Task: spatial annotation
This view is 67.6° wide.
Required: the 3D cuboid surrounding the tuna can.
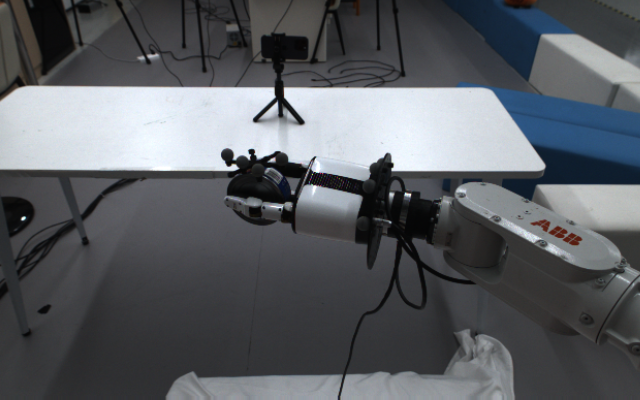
[{"bbox_3d":[-0.084,-0.009,0.682,0.085,0.085,0.034,11,34,12],"label":"tuna can"}]
